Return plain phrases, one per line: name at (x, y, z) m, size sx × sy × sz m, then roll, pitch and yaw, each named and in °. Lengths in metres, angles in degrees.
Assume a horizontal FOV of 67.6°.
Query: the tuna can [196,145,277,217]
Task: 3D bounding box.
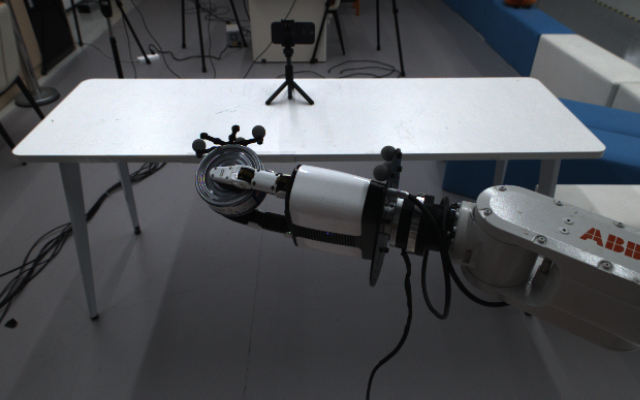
tuna can at (-0.104, -0.020, 0.591) m, size 0.085 × 0.034 × 0.085 m, roll -4°, pitch 68°, yaw 9°
